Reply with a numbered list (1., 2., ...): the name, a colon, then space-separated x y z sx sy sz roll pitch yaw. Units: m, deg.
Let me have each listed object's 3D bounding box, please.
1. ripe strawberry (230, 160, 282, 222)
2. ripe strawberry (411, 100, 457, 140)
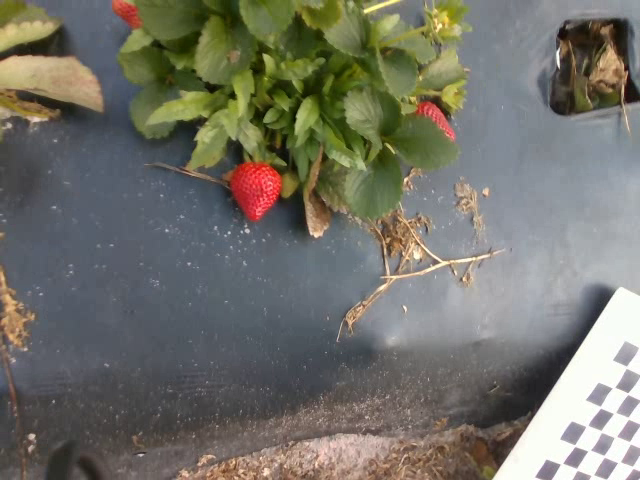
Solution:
1. ripe strawberry: -0.052 -0.037 0.454 0.043 0.051 0.042 7 -13 -19
2. ripe strawberry: 0.093 -0.093 0.502 0.046 0.043 0.046 26 7 8
